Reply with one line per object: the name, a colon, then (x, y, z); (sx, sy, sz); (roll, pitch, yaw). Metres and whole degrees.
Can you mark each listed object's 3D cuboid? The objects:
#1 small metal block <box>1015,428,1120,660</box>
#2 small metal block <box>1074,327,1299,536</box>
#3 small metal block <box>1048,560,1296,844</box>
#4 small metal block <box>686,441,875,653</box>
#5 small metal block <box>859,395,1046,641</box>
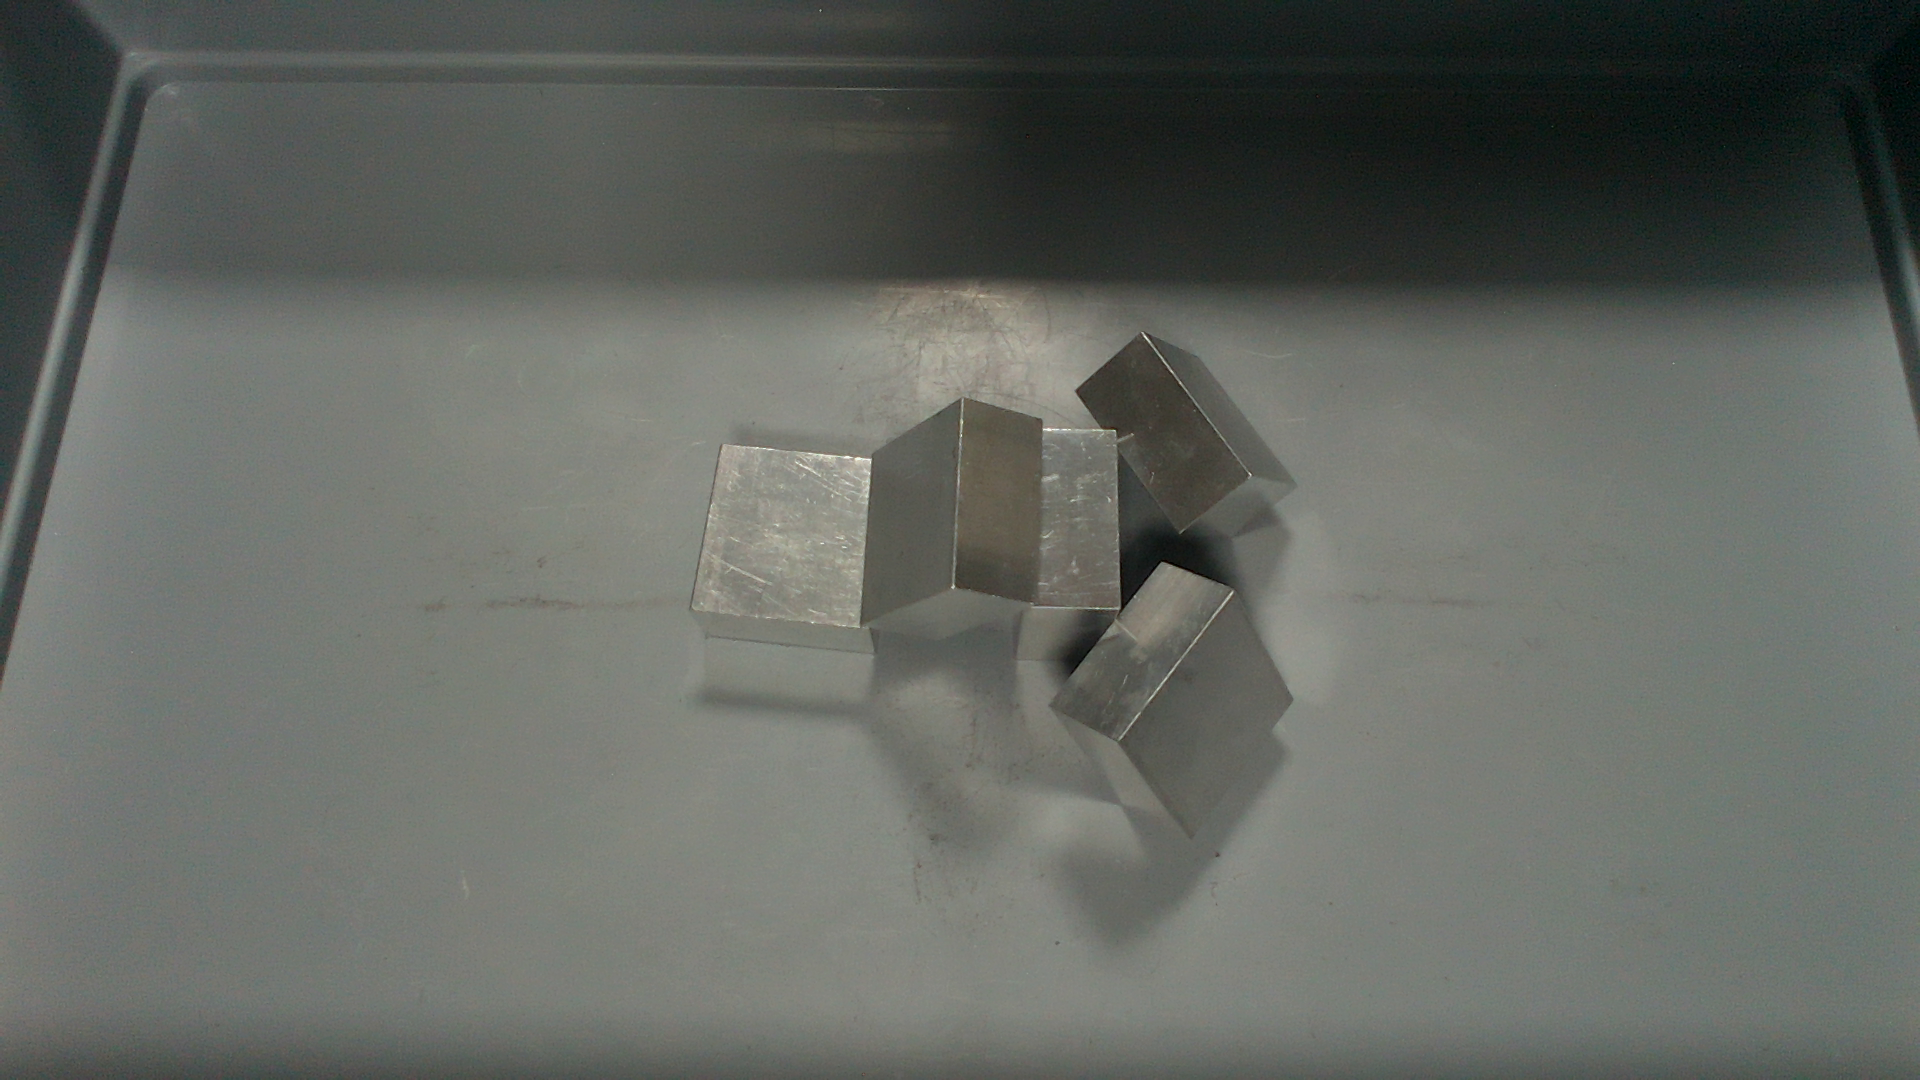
small metal block: (0.029, 0.003, 0.379); (0.025, 0.050, 0.050); (1, 70, 1)
small metal block: (0.065, -0.029, 0.388); (0.025, 0.050, 0.050); (-40, 72, 20)
small metal block: (0.057, 0.043, 0.362); (0.025, 0.050, 0.050); (23, 67, 46)
small metal block: (-0.046, 0.002, 0.391); (0.050, 0.025, 0.050); (6, 70, 2)
small metal block: (-0.003, -0.004, 0.362); (0.025, 0.050, 0.050); (12, 70, -29)
